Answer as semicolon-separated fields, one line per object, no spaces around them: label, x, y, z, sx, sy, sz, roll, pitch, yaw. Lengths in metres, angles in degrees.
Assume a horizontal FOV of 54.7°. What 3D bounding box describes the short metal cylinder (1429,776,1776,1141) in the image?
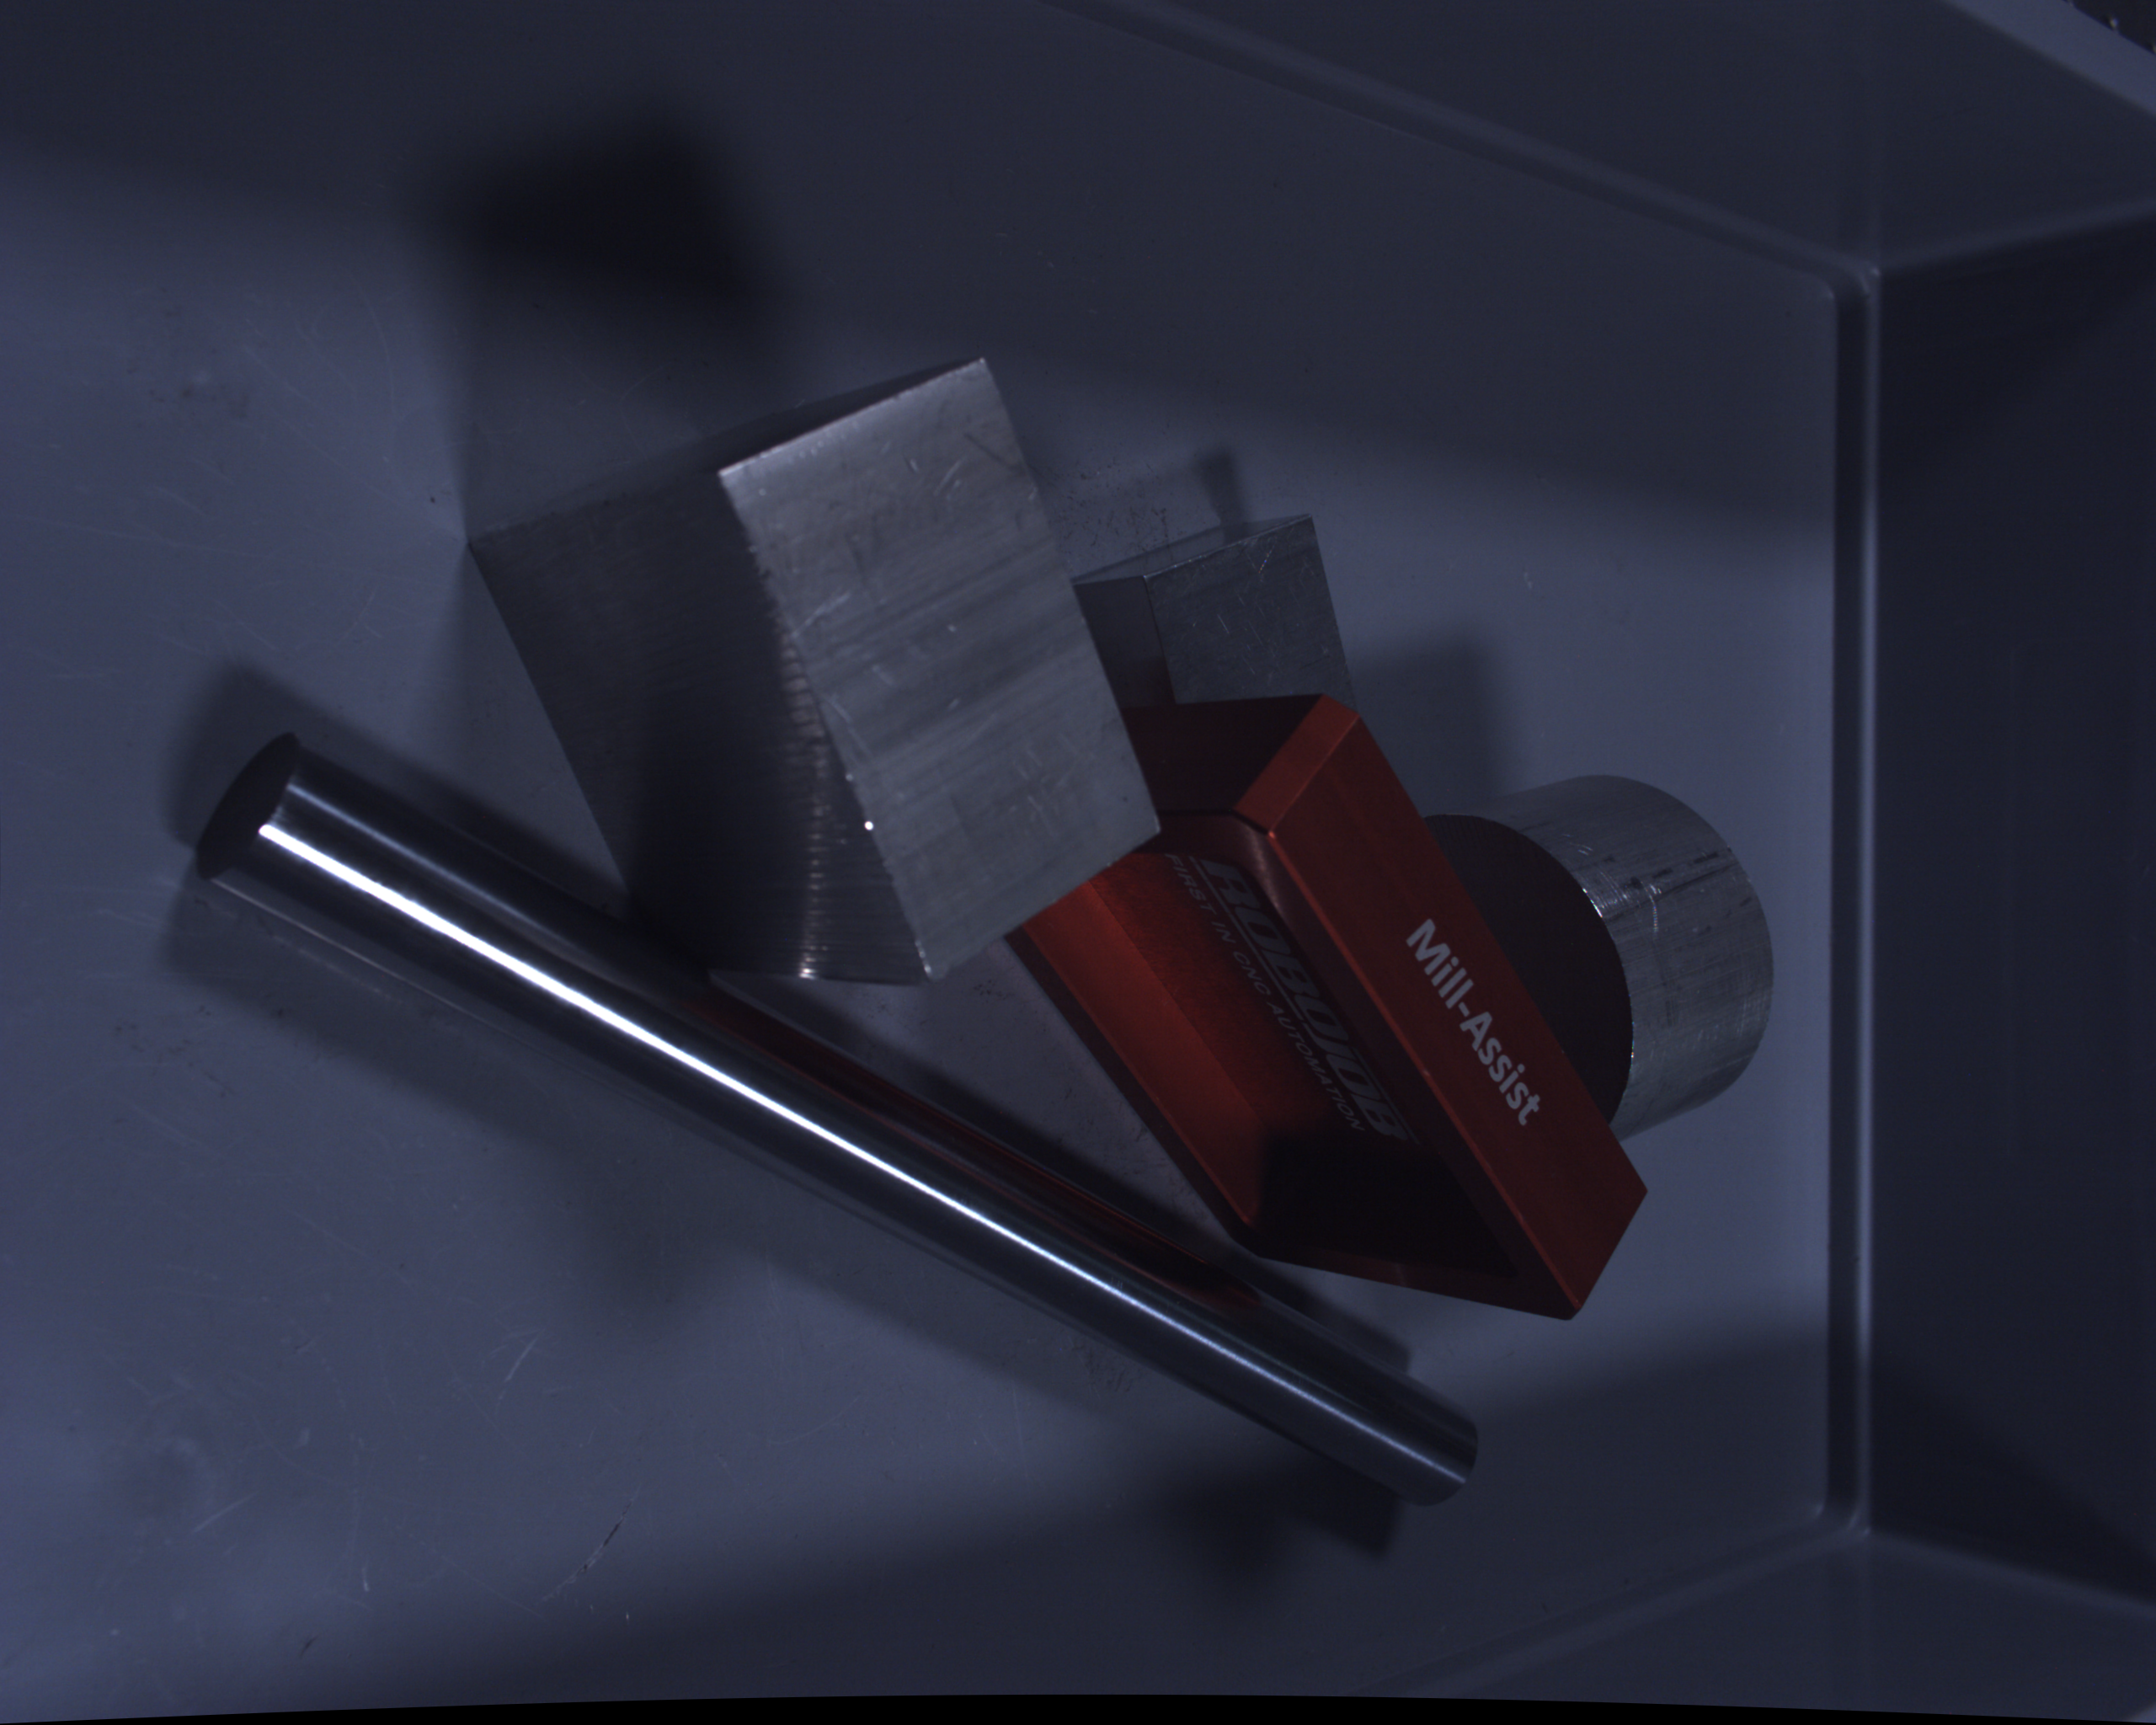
short metal cylinder;0.104;0.024;0.458;0.050;0.080;0.079;-15;100;-38

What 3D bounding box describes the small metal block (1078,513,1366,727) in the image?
small metal block;0.029;-0.040;0.430;0.050;0.025;0.050;-26;106;-37

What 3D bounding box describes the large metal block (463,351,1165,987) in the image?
large metal block;-0.043;-0.029;0.334;0.050;0.080;0.080;-33;111;-35

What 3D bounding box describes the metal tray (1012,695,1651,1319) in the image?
metal tray;0.040;0.029;0.397;0.030;0.090;0.130;-52;121;-28

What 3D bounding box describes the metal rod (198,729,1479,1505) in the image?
metal rod;-0.020;0.063;0.390;0.301;0.025;0.025;35;68;-35
